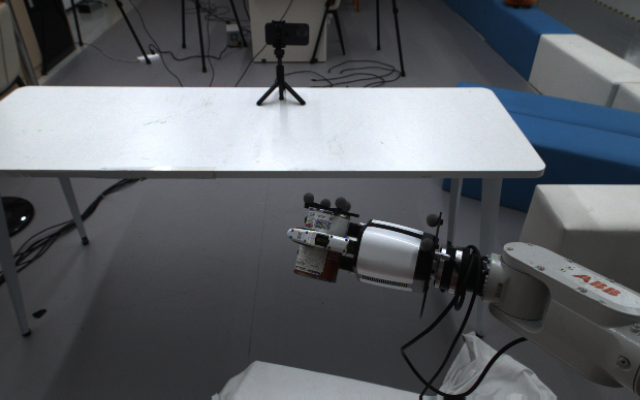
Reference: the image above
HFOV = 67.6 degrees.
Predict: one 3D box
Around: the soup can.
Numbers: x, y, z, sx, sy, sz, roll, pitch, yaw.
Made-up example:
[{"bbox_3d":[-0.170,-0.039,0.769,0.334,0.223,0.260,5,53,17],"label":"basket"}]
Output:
[{"bbox_3d":[0.005,0.070,0.738,0.067,0.101,0.067,13,-6,1],"label":"soup can"}]
